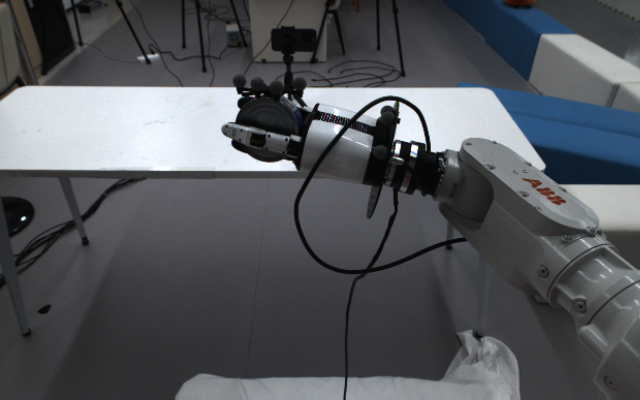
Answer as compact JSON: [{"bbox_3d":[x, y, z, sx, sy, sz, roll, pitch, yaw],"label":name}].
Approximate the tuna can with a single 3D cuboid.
[{"bbox_3d":[-0.065,-0.095,0.639,0.085,0.085,0.034,9,23,9],"label":"tuna can"}]
